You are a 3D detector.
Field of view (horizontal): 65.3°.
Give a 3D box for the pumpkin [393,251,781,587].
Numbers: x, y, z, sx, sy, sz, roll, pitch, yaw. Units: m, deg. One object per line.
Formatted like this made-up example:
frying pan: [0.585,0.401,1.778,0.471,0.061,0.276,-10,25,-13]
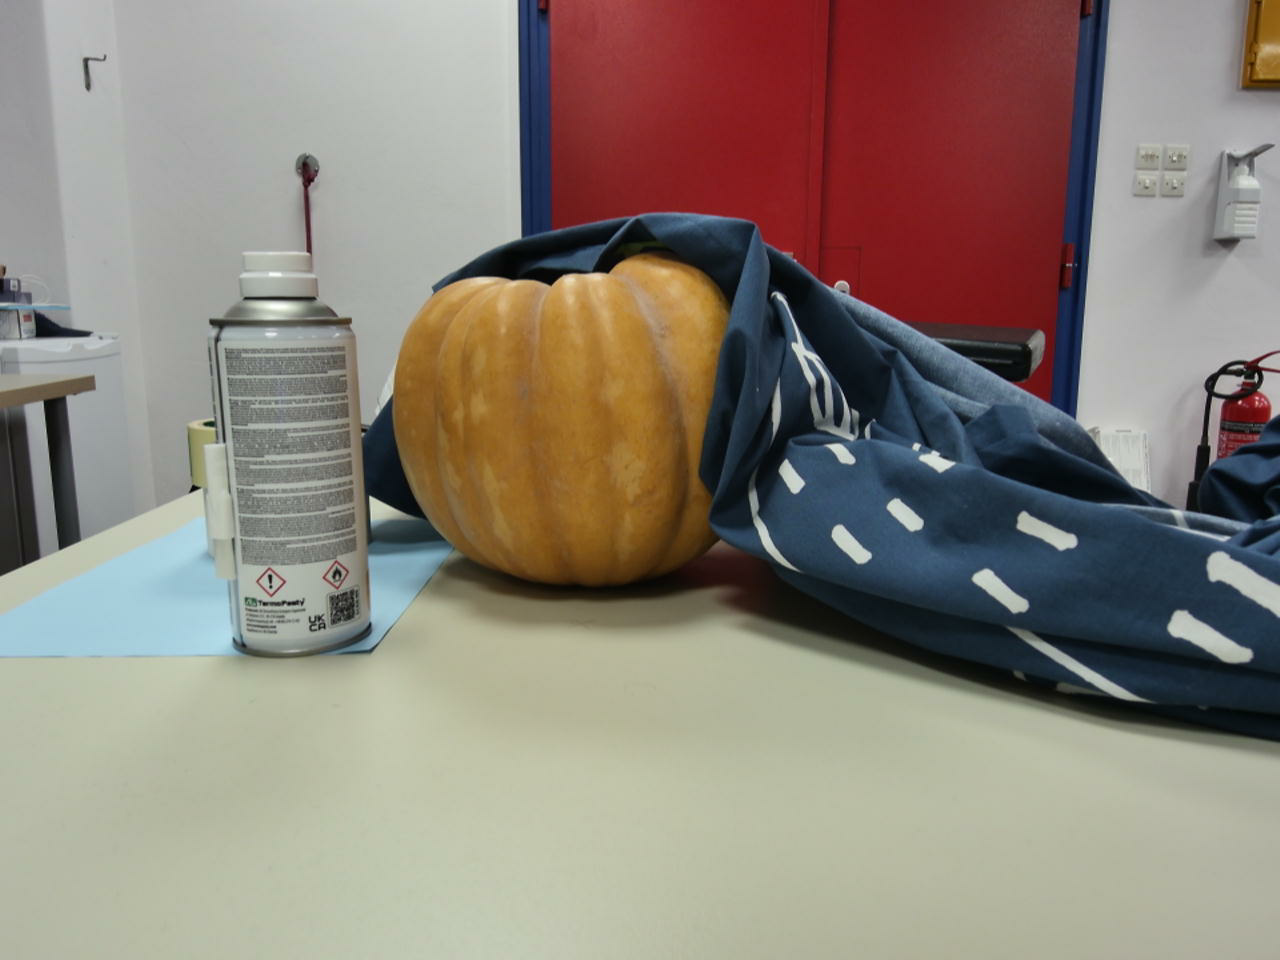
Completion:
pumpkin: [-0.028,-0.037,0.600,0.230,0.194,0.230,-1,8,0]
